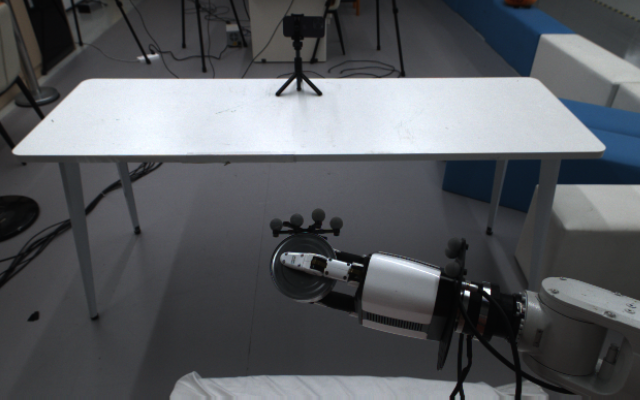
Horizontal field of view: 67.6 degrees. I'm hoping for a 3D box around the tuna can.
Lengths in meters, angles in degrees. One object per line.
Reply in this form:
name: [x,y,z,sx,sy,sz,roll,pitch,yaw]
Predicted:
tuna can: [-0.017,0.091,0.612,0.085,0.034,0.085,-2,69,6]
